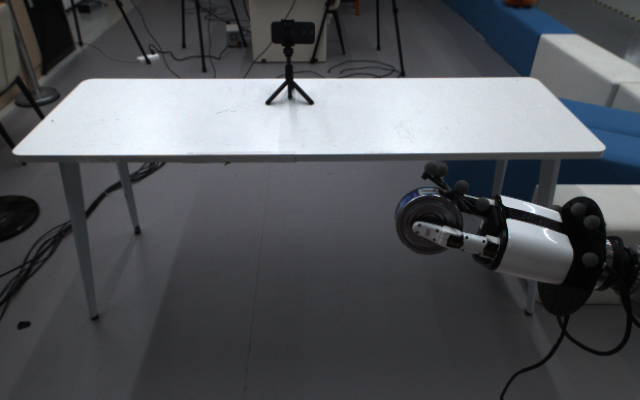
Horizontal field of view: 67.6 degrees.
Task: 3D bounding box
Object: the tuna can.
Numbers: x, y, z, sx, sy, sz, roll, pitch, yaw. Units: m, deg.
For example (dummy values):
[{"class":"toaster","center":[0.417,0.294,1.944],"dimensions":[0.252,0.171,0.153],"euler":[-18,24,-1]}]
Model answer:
[{"class":"tuna can","center":[0.143,0.026,0.632],"dimensions":[0.085,0.085,0.034],"euler":[7,19,7]}]
